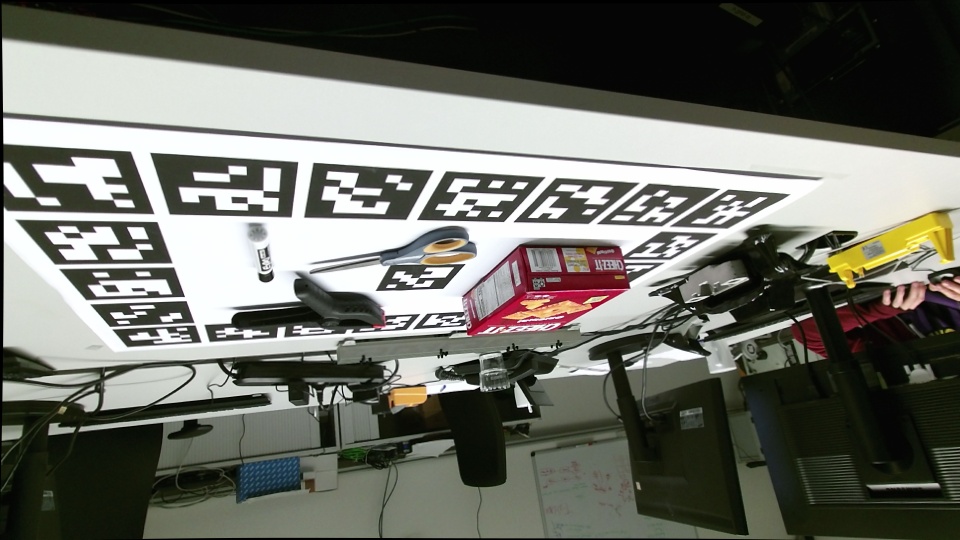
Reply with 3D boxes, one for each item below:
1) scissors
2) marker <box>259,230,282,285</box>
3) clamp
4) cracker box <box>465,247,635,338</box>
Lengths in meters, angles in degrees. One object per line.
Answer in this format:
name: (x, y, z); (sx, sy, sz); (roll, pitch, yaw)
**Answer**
scissors: (-0.096, -0.011, 0.641); (0.203, 0.016, 0.088); (-10, 161, 5)
marker: (-0.226, -0.009, 0.580); (0.020, 0.019, 0.121); (-3, 159, -20)
clamp: (-0.210, 0.057, 0.783); (0.166, 0.036, 0.203); (-22, 156, 33)
cracker box: (0.094, 0.038, 0.793); (0.165, 0.071, 0.214); (-1, 158, -24)
